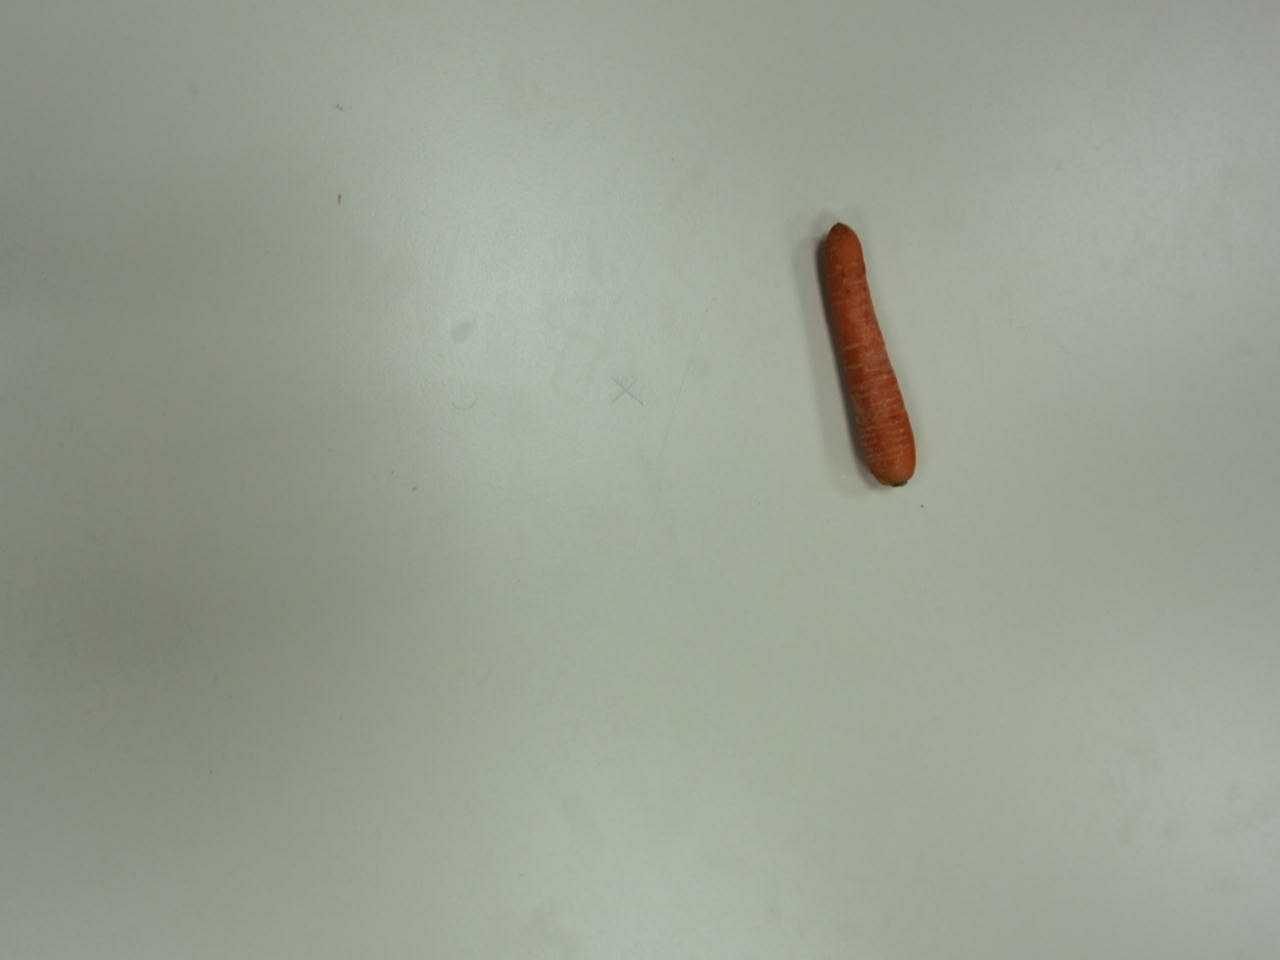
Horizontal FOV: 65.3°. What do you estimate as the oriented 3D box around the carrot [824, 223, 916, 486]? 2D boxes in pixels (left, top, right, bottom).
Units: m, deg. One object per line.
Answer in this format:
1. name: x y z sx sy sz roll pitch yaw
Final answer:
1. carrot: 0.103 -0.056 0.452 0.024 0.023 0.122 -13 93 -12
